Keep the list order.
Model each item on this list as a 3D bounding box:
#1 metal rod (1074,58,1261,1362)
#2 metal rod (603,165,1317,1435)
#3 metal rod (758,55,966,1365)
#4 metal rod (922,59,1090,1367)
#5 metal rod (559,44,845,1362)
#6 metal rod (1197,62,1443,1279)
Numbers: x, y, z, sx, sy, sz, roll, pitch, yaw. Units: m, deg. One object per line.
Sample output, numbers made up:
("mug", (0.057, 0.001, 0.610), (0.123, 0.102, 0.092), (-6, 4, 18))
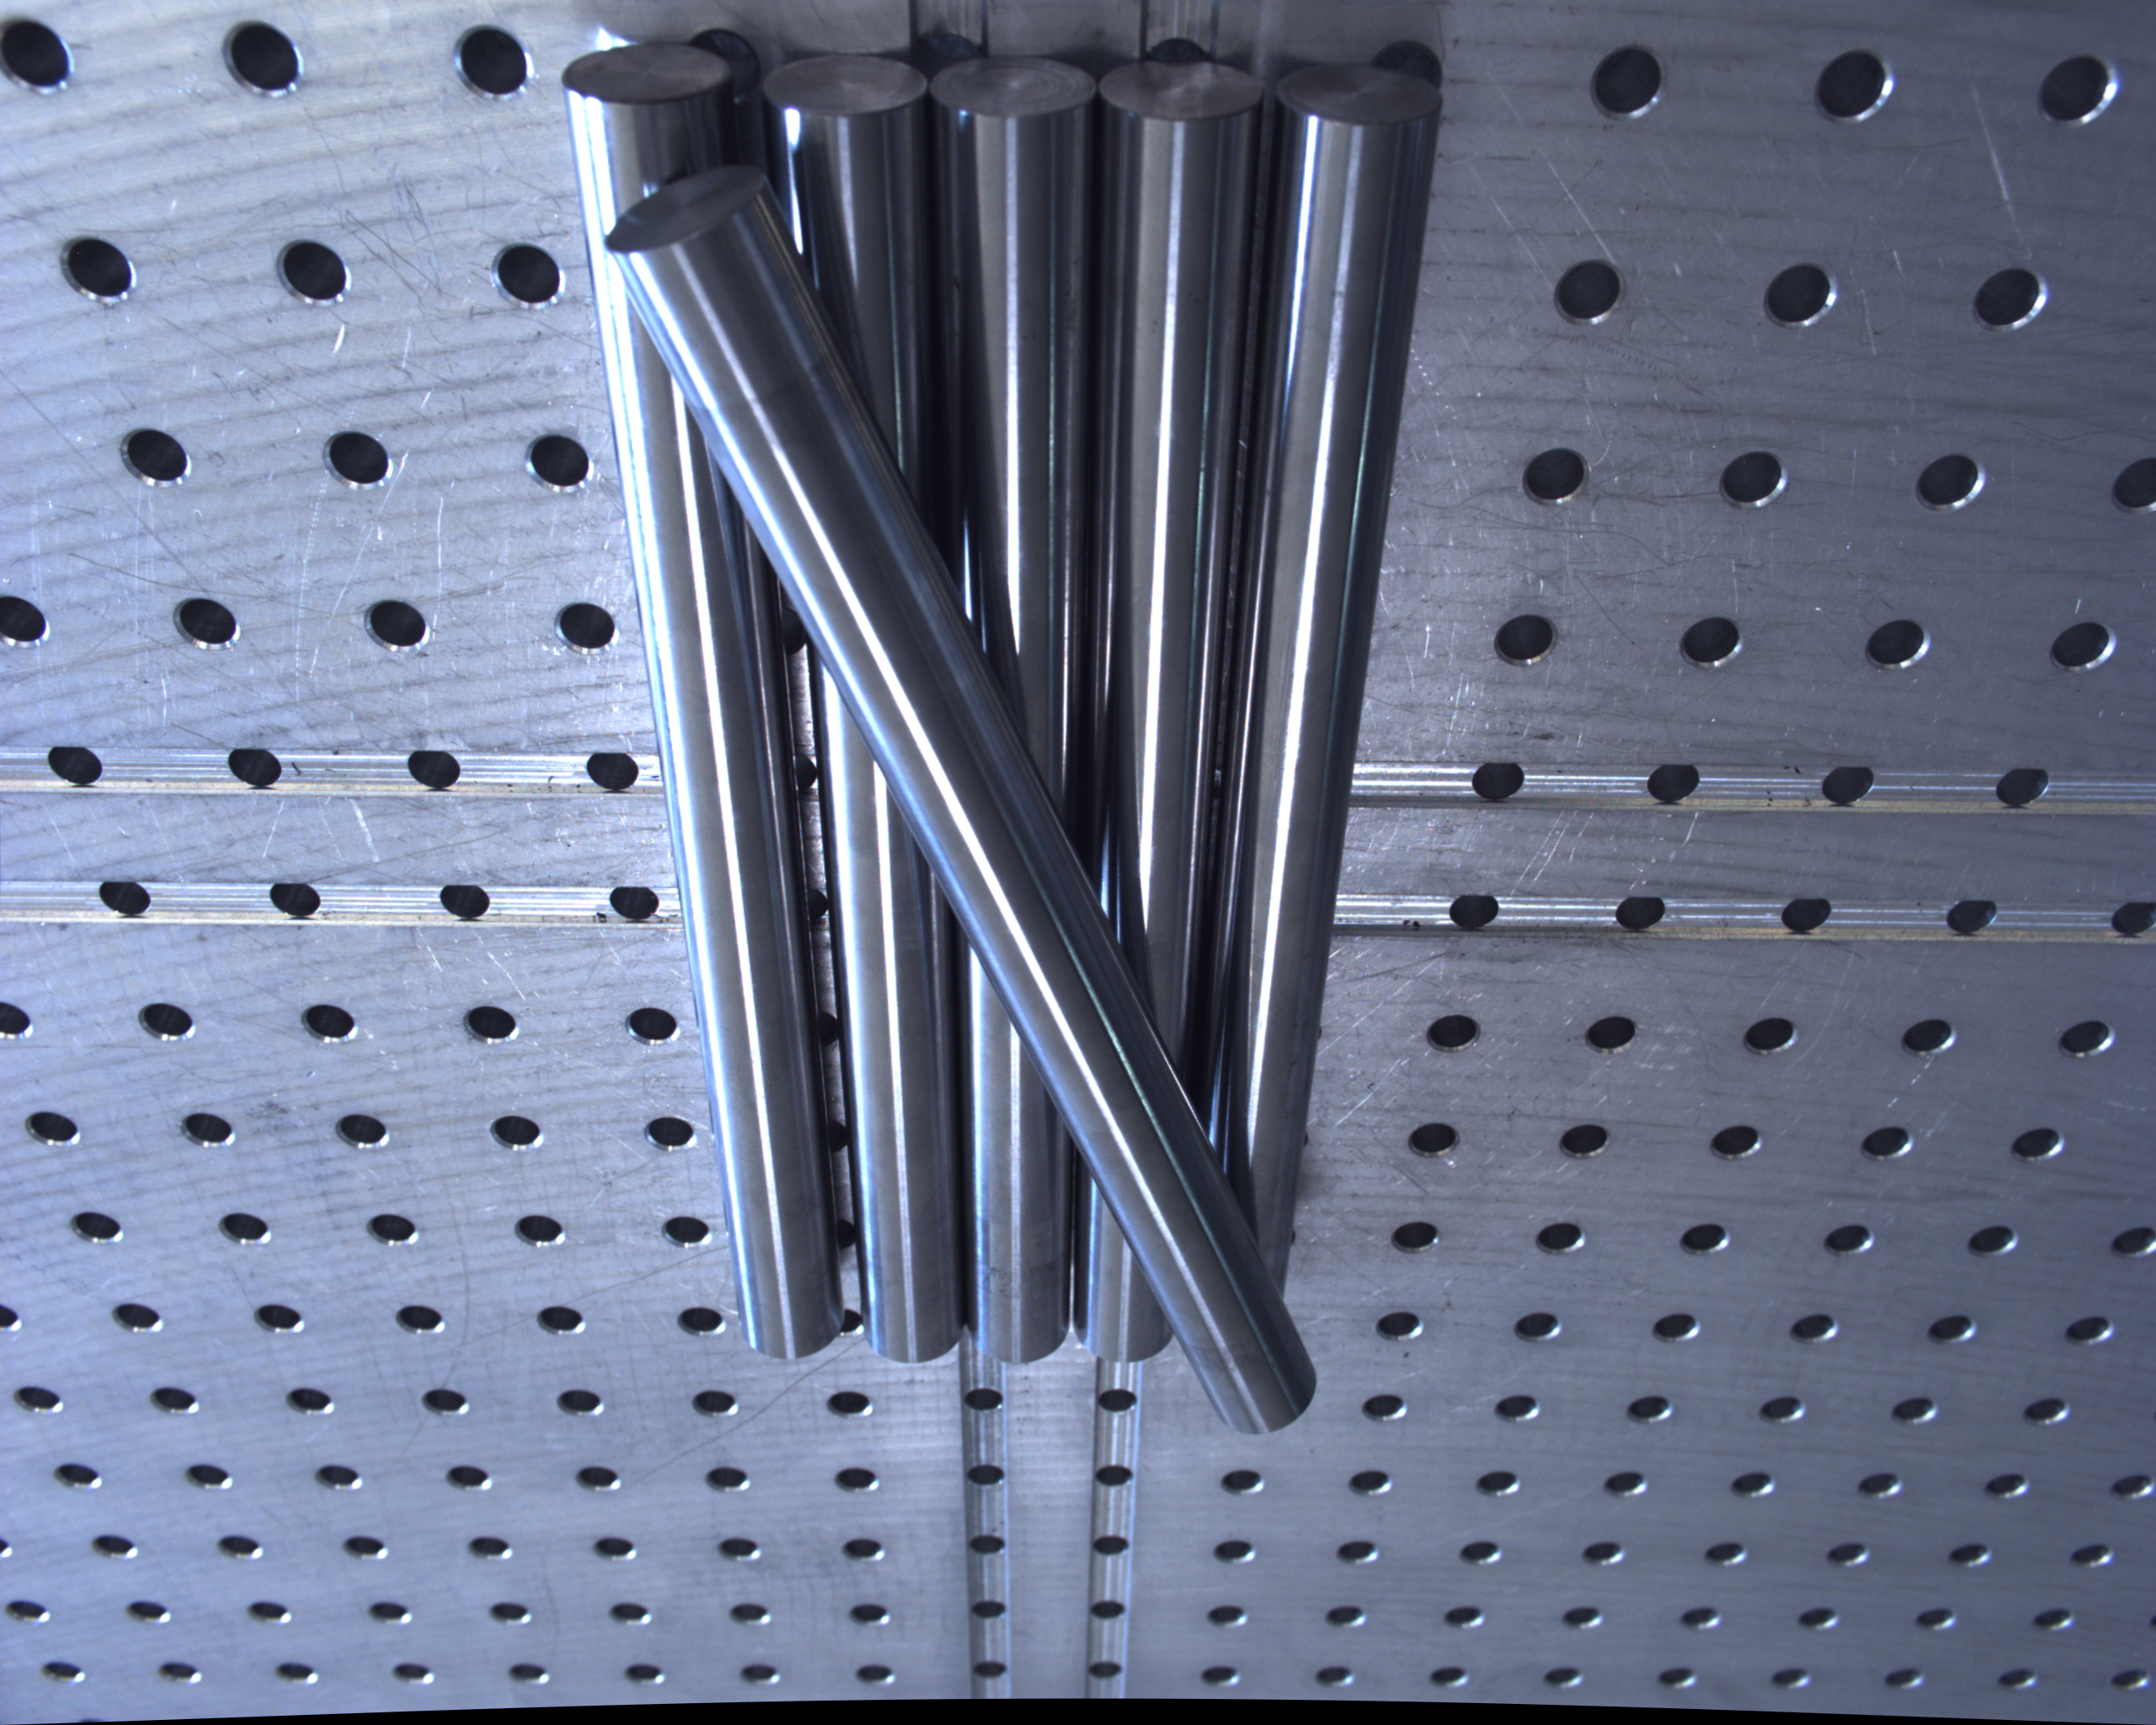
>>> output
("metal rod", (0.013, -0.003, 0.410), (0.025, 0.025, 0.298), (0, 130, -1))
("metal rod", (-0.007, 0.014, 0.390), (0.025, 0.025, 0.299), (-15, 129, 12))
("metal rod", (-0.037, -0.002, 0.408), (0.025, 0.025, 0.298), (0, 130, -1))
("metal rod", (-0.013, -0.002, 0.408), (0.025, 0.025, 0.298), (0, 130, -1))
("metal rod", (-0.066, -0.004, 0.407), (0.025, 0.025, 0.298), (1, 130, -1))
("metal rod", (0.039, -0.002, 0.410), (0.025, 0.025, 0.298), (1, 130, -1))
